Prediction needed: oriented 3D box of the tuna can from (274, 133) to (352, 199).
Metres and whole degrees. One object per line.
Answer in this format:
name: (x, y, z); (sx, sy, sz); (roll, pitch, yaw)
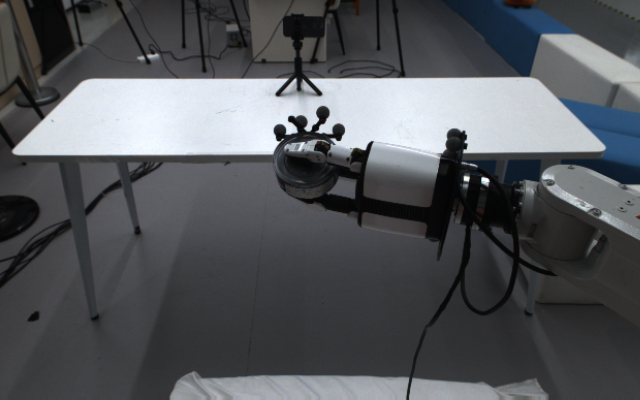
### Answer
tuna can: (-0.015, -0.041, 0.621); (0.085, 0.034, 0.085); (-1, 58, 2)
